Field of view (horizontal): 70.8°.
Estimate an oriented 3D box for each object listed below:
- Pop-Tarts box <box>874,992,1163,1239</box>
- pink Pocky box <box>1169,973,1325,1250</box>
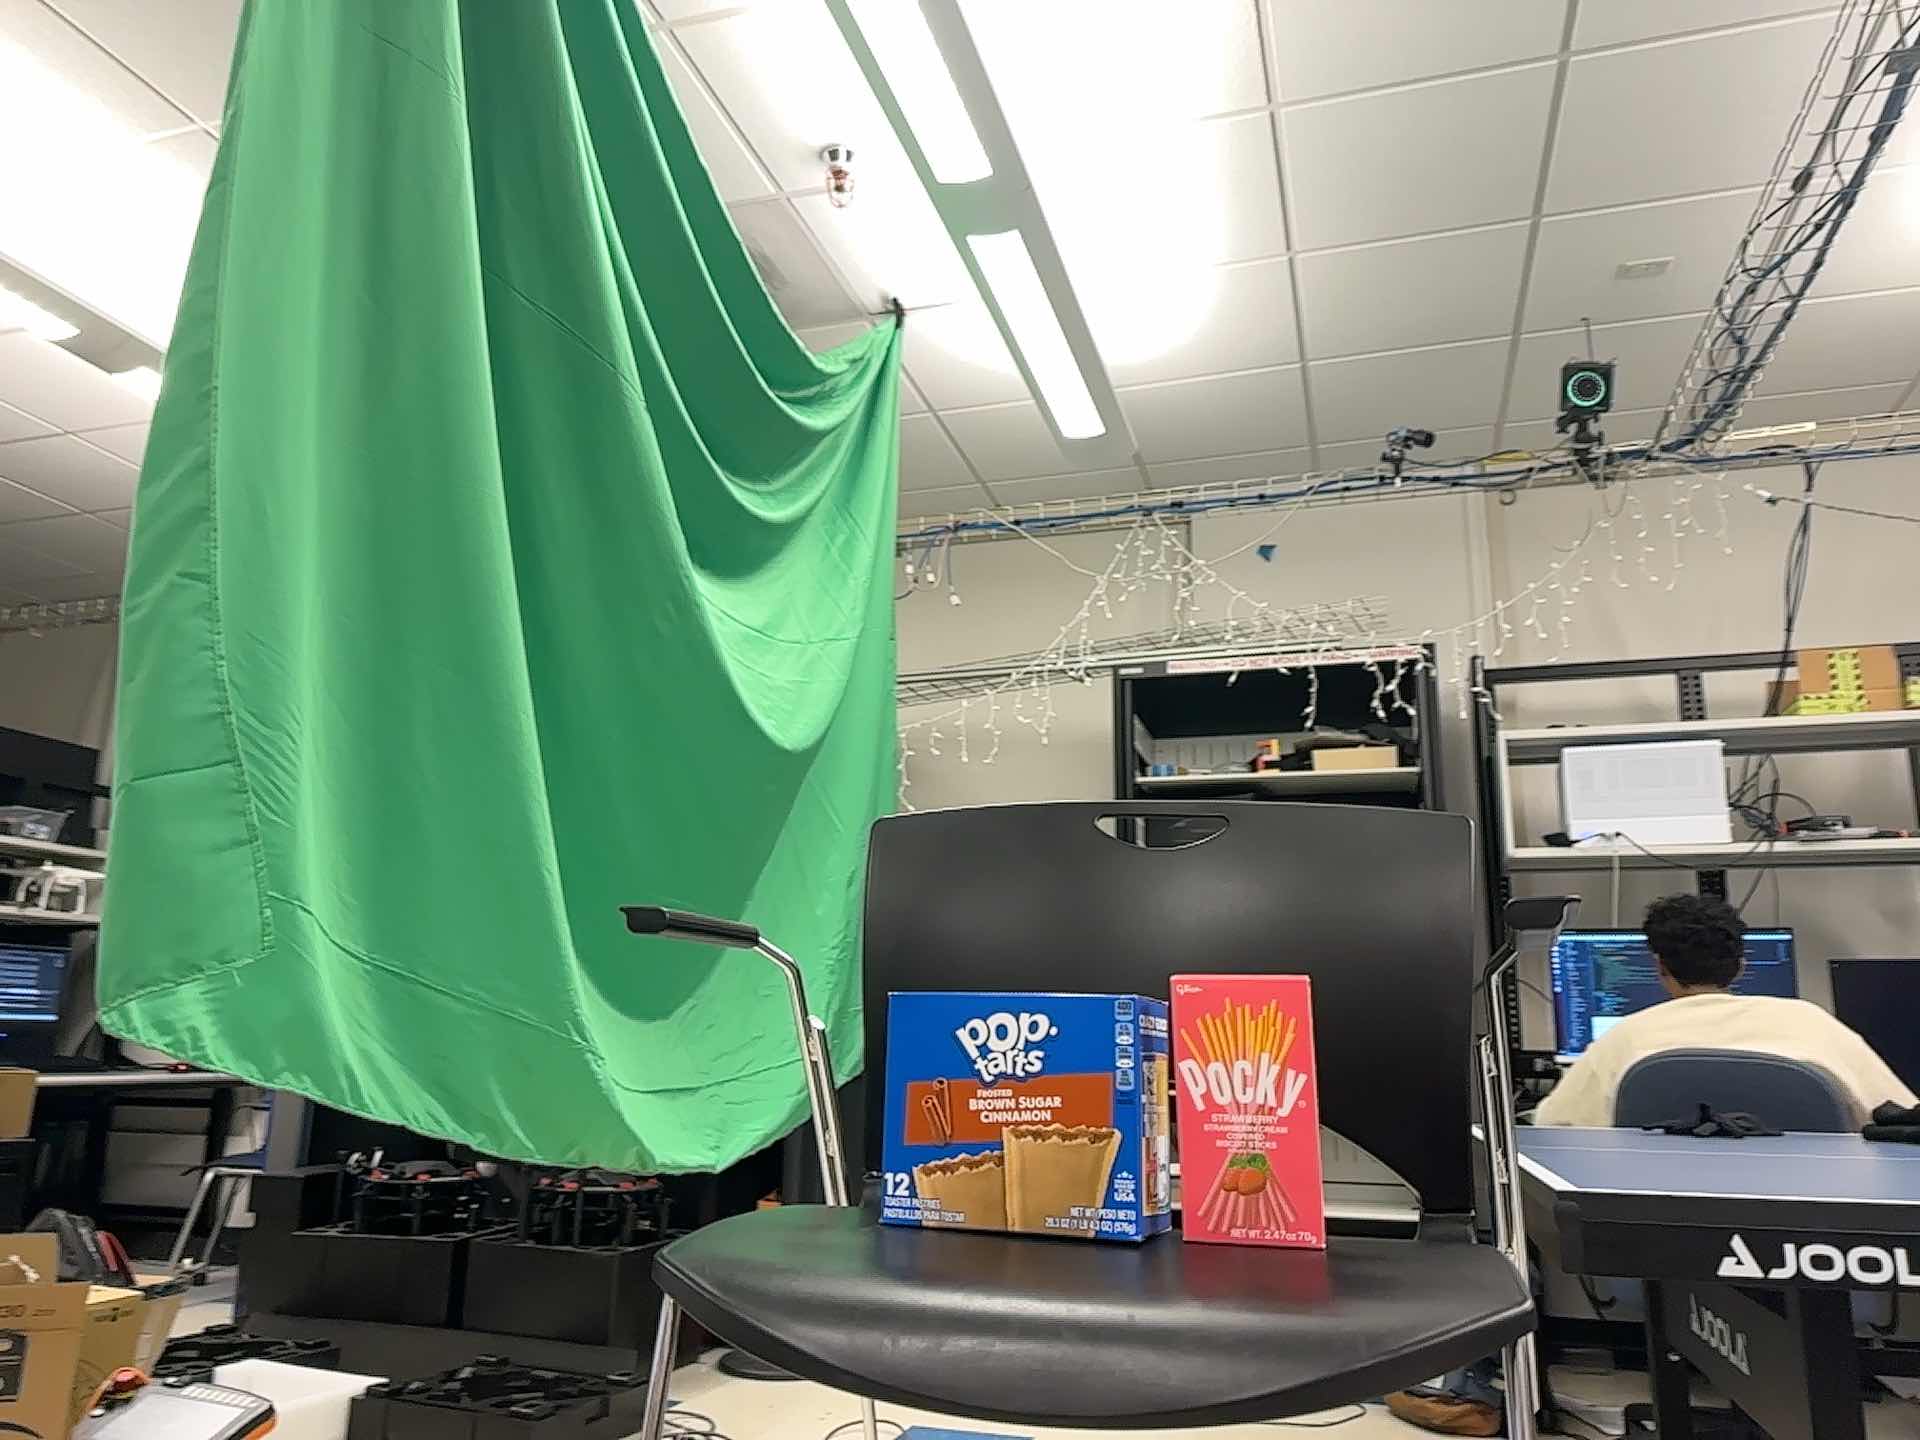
[{"bbox_3d":[0.038,0.246,0.855,0.161,0.135,0.075,-2,-14,17],"label":"Pop-Tarts box"},{"bbox_3d":[0.167,0.227,0.794,0.084,0.155,0.029,-2,-8,13],"label":"pink Pocky box"}]
